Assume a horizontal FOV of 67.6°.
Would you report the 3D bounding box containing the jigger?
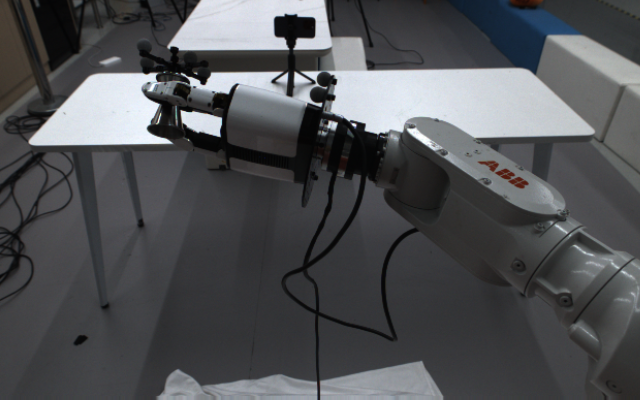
[{"bbox_3d":[-0.180,-0.113,0.578,0.043,0.043,0.071,3,77,1],"label":"jigger"}]
